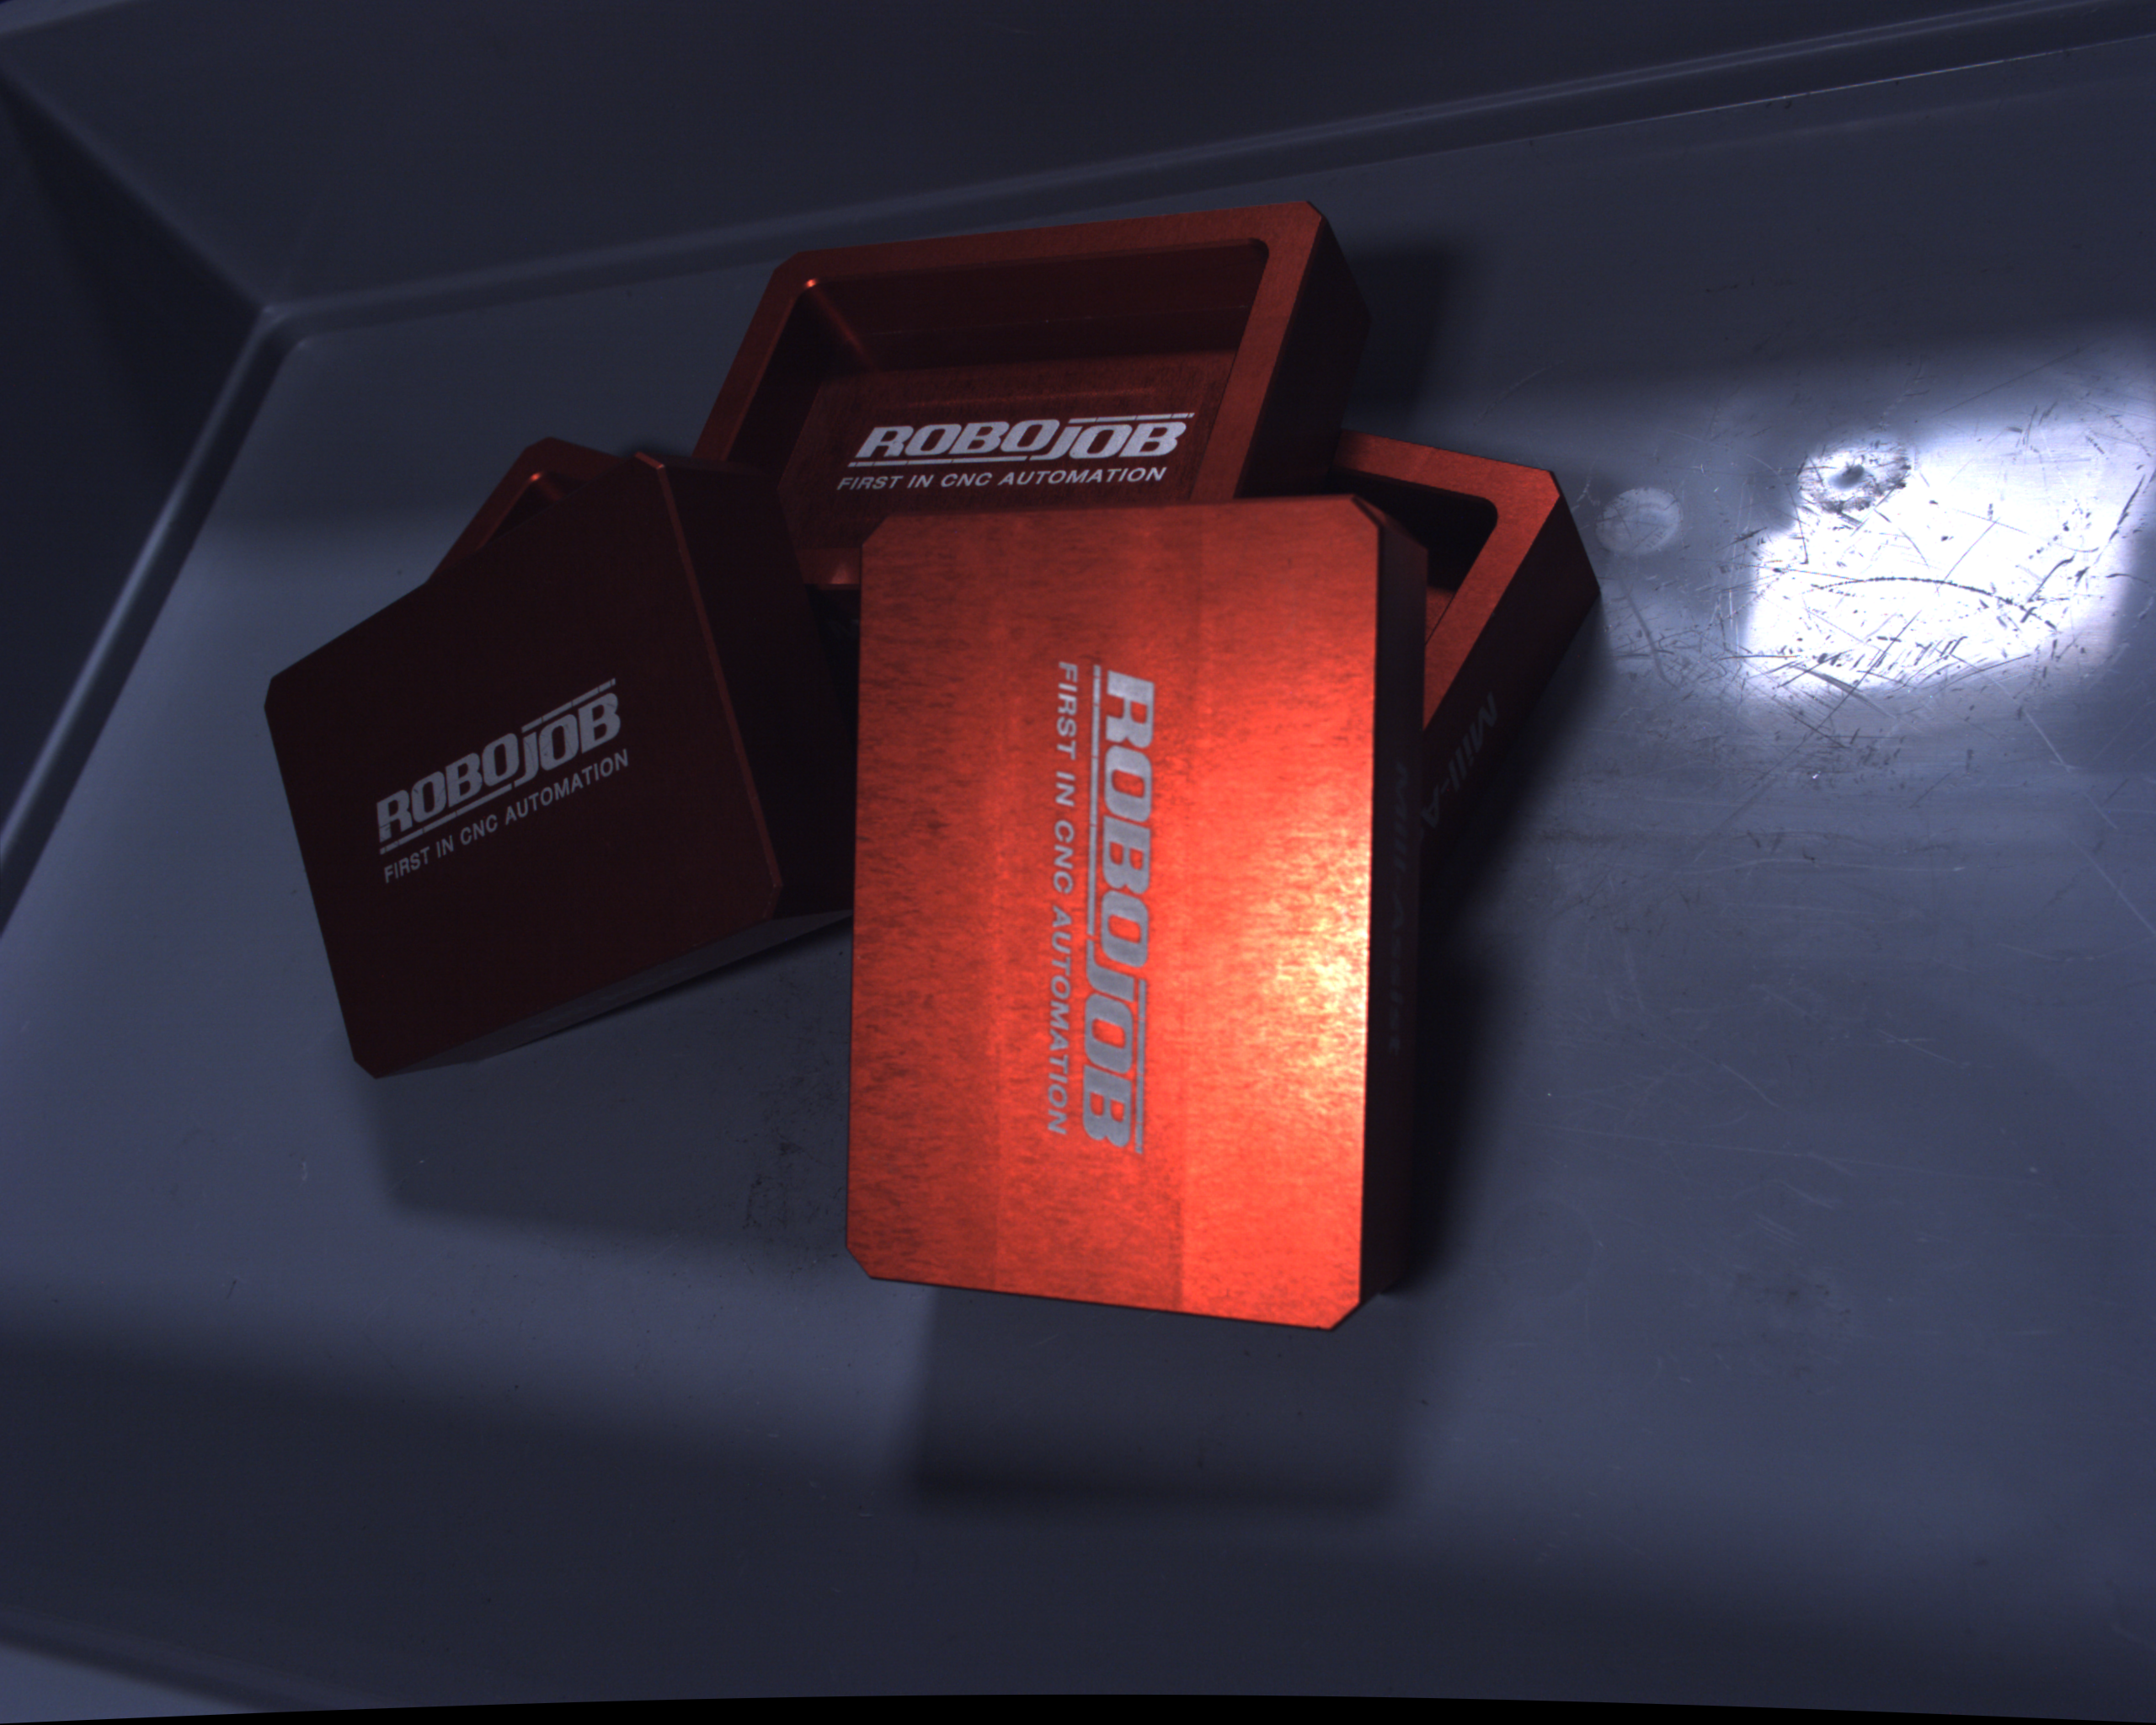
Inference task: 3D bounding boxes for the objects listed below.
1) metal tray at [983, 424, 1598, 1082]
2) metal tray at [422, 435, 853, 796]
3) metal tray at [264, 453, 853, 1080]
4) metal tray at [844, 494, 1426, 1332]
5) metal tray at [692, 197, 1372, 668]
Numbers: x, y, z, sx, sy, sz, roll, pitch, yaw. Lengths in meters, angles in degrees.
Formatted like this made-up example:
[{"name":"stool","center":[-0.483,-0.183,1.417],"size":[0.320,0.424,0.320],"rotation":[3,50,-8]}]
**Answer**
[{"name":"metal tray","center":[0.029,-0.023,0.398],"size":[0.090,0.030,0.130],"rotation":[21,73,35]},{"name":"metal tray","center":[-0.102,-0.043,0.476],"size":[0.130,0.030,0.090],"rotation":[21,73,35]},{"name":"metal tray","center":[-0.106,-0.016,0.420],"size":[0.130,0.030,0.090],"rotation":[-21,82,34]},{"name":"metal tray","center":[0.009,0.007,0.349],"size":[0.090,0.030,0.129],"rotation":[2,91,22]},{"name":"metal tray","center":[-0.015,-0.084,0.420],"size":[0.130,0.030,0.090],"rotation":[4,63,29]}]
